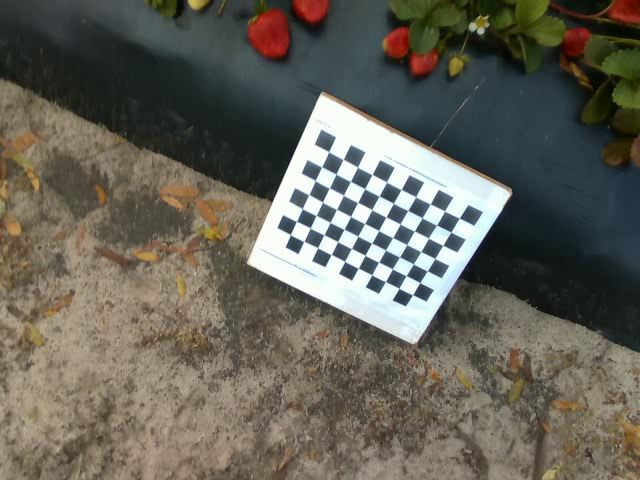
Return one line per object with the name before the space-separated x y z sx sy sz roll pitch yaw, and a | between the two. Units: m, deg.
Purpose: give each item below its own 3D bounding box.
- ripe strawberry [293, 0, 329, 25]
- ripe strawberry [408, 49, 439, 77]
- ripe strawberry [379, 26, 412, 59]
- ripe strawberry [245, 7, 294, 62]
ripe strawberry | -0.017 -0.298 0.653 0.050 0.060 0.051 -37 -36 30
ripe strawberry | 0.133 -0.226 0.642 0.043 0.049 0.041 22 -35 2
ripe strawberry | 0.098 -0.252 0.651 0.053 0.047 0.039 -10 33 -19
ripe strawberry | -0.070 -0.259 0.653 0.058 0.065 0.043 -31 -1 28
